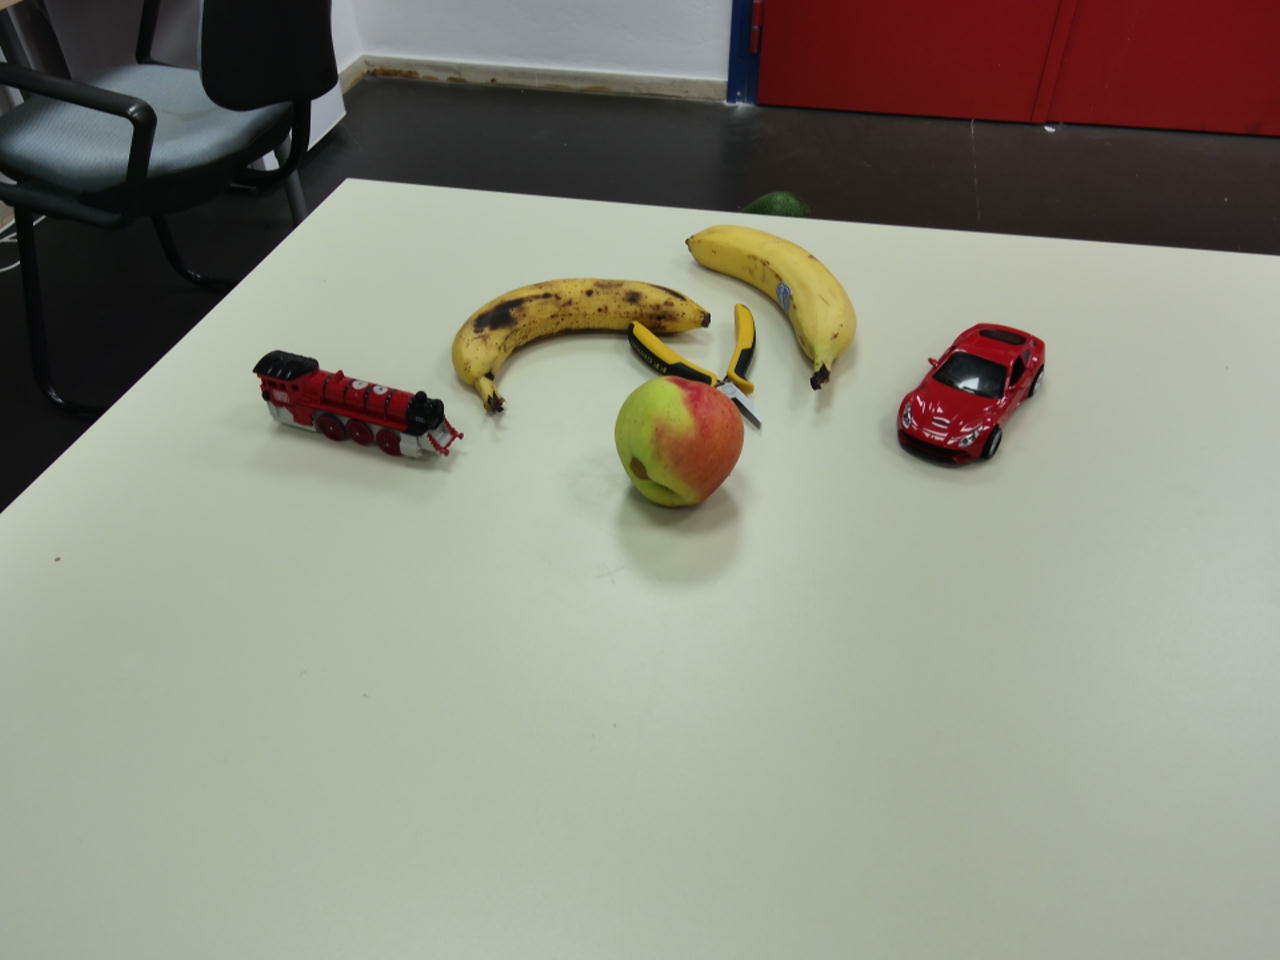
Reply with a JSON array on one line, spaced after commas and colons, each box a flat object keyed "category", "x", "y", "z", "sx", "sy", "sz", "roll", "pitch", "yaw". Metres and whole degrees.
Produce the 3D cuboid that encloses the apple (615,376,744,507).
[{"category": "apple", "x": 0.023, "y": -0.023, "z": 0.578, "sx": 0.075, "sy": 0.074, "sz": 0.075, "roll": -4, "pitch": 39, "yaw": -5}]
